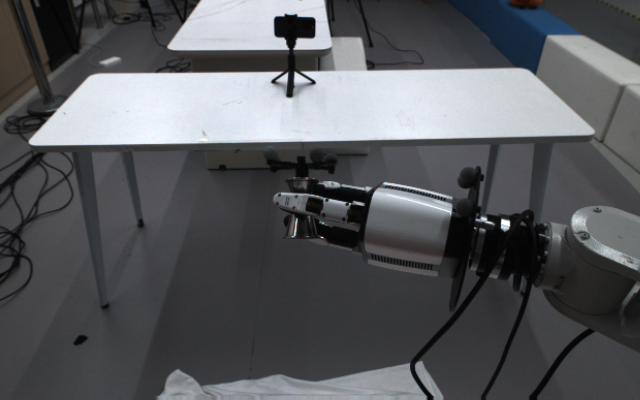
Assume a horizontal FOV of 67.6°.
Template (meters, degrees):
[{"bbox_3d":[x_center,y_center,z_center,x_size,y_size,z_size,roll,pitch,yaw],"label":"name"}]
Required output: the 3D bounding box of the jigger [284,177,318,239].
[{"bbox_3d":[-0.022,0.011,0.559,0.043,0.071,0.043,1,-5,0],"label":"jigger"}]
